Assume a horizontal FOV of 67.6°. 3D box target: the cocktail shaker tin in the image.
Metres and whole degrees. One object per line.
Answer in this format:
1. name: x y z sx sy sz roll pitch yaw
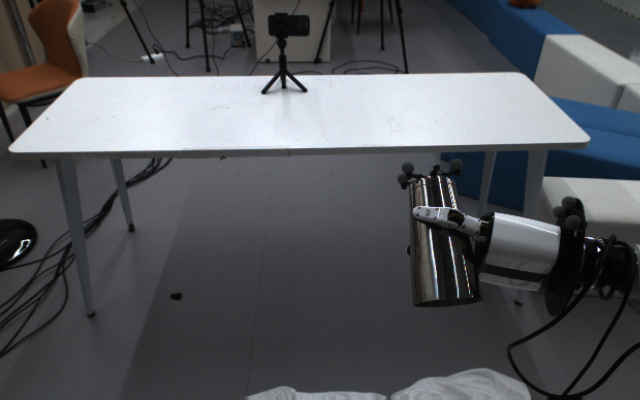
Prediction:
1. cocktail shaker tin: 0.165 0.056 0.667 0.093 0.093 0.170 -2 70 -5
